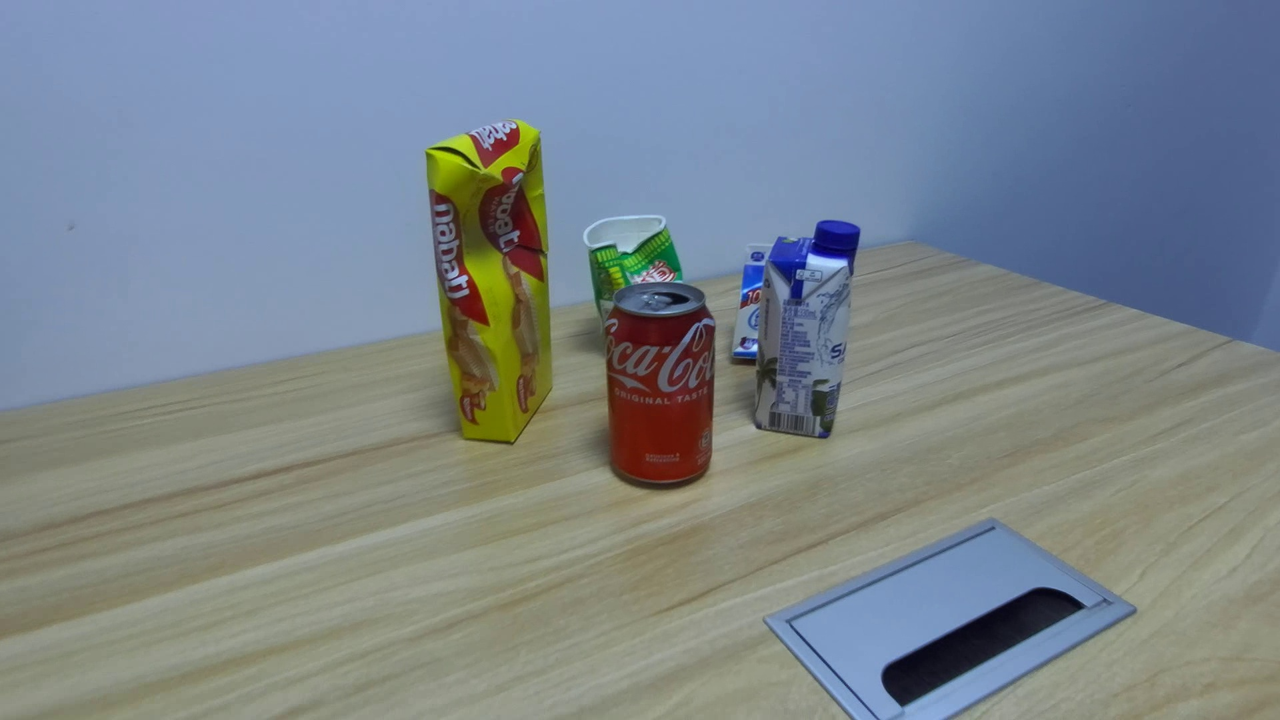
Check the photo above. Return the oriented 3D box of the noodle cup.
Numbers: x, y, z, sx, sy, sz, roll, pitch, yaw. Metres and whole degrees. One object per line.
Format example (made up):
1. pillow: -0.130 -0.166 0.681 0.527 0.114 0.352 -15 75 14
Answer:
1. noodle cup: 0.000 -0.060 0.601 0.083 0.122 0.075 -19 21 -14

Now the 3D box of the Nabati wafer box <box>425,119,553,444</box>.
1. Nabati wafer box: -0.097 -0.051 0.478 0.042 0.204 0.107 6 26 11

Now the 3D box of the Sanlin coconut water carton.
1. Sanlin coconut water carton: 0.112 -0.022 0.478 0.060 0.144 0.060 6 27 16

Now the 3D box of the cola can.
1. cola can: 0.013 0.015 0.435 0.068 0.120 0.068 0 24 0
